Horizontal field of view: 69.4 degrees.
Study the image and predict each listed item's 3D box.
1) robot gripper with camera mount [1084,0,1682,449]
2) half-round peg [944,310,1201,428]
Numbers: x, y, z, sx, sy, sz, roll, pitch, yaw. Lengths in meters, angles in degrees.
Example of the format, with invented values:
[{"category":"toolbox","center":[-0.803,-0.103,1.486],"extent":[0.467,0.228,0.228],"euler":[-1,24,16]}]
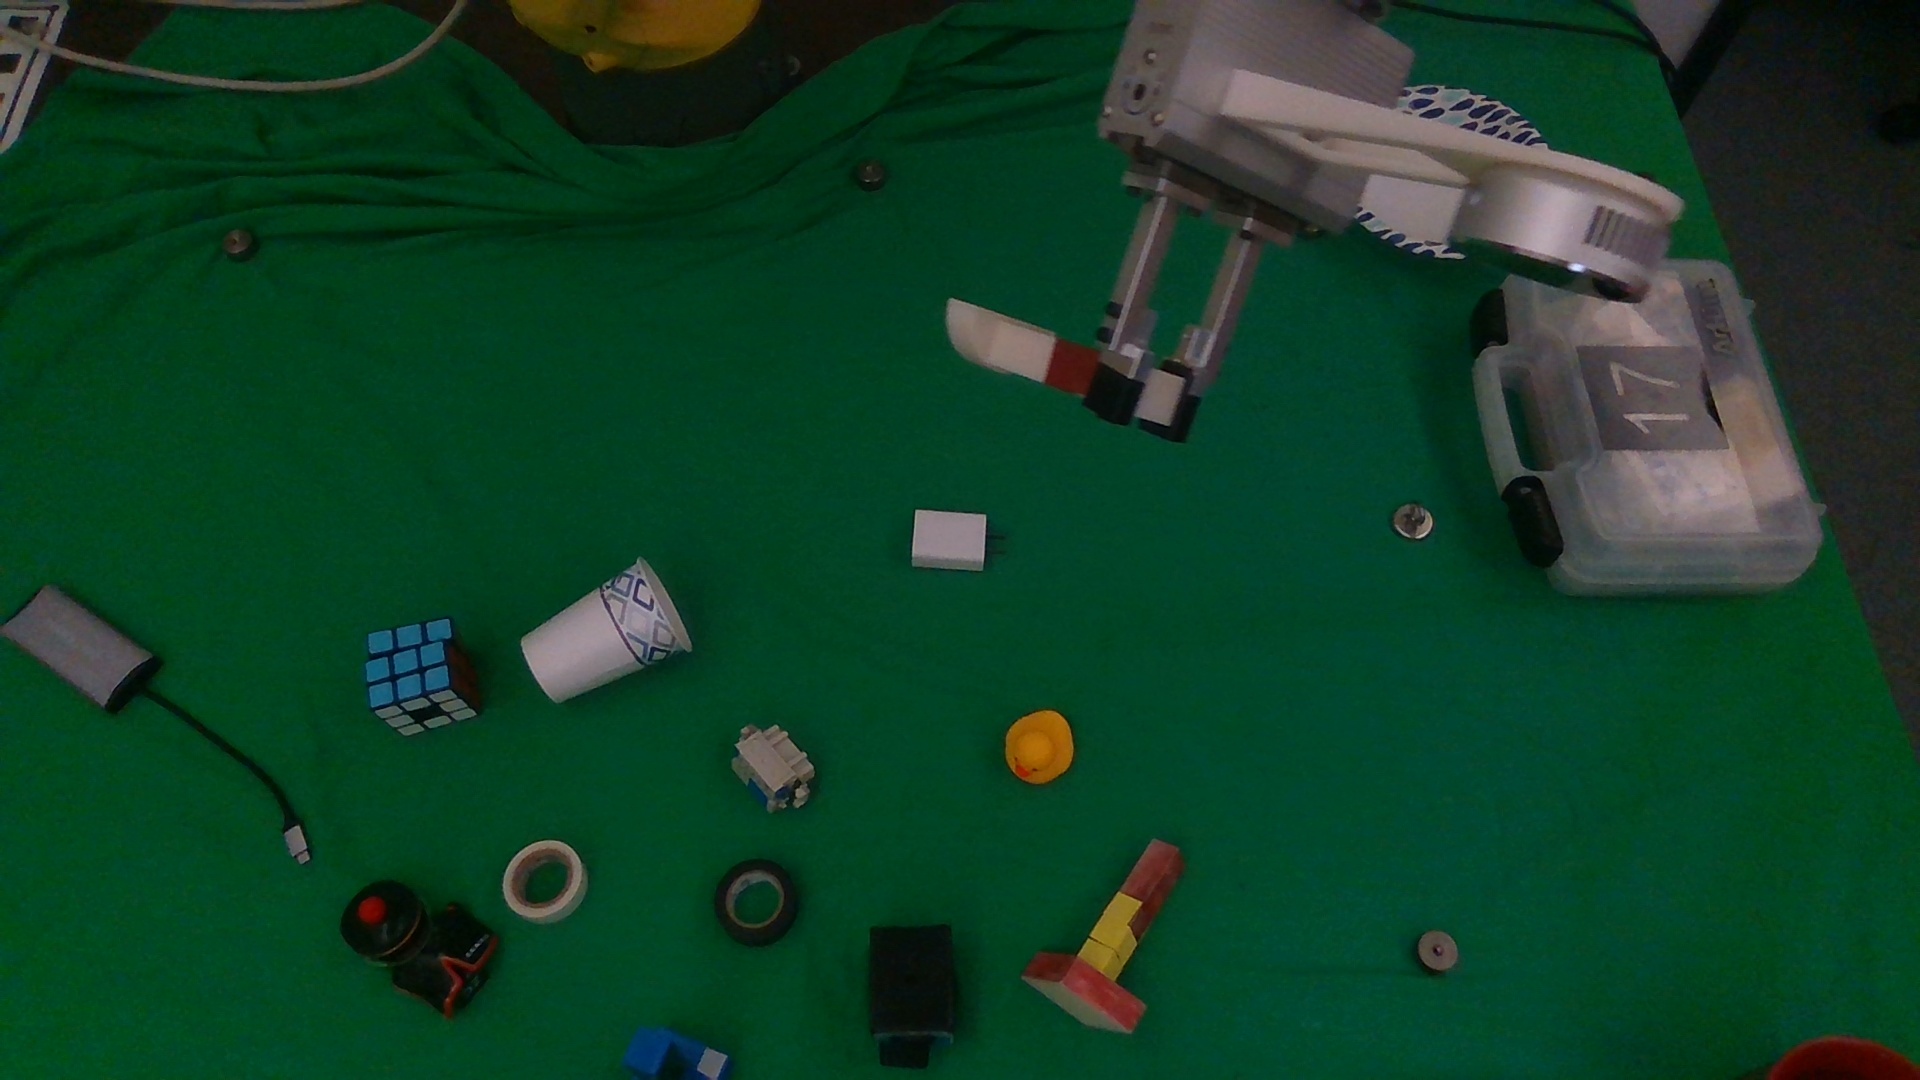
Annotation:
[{"category":"robot gripper with camera mount","center":[0.142,-0.091,0.477],"extent":[0.194,0.118,0.158],"euler":[28,104,49]},{"category":"half-round peg","center":[0.048,-0.071,0.581],"extent":[0.122,0.054,0.031],"euler":[24,104,49]}]
